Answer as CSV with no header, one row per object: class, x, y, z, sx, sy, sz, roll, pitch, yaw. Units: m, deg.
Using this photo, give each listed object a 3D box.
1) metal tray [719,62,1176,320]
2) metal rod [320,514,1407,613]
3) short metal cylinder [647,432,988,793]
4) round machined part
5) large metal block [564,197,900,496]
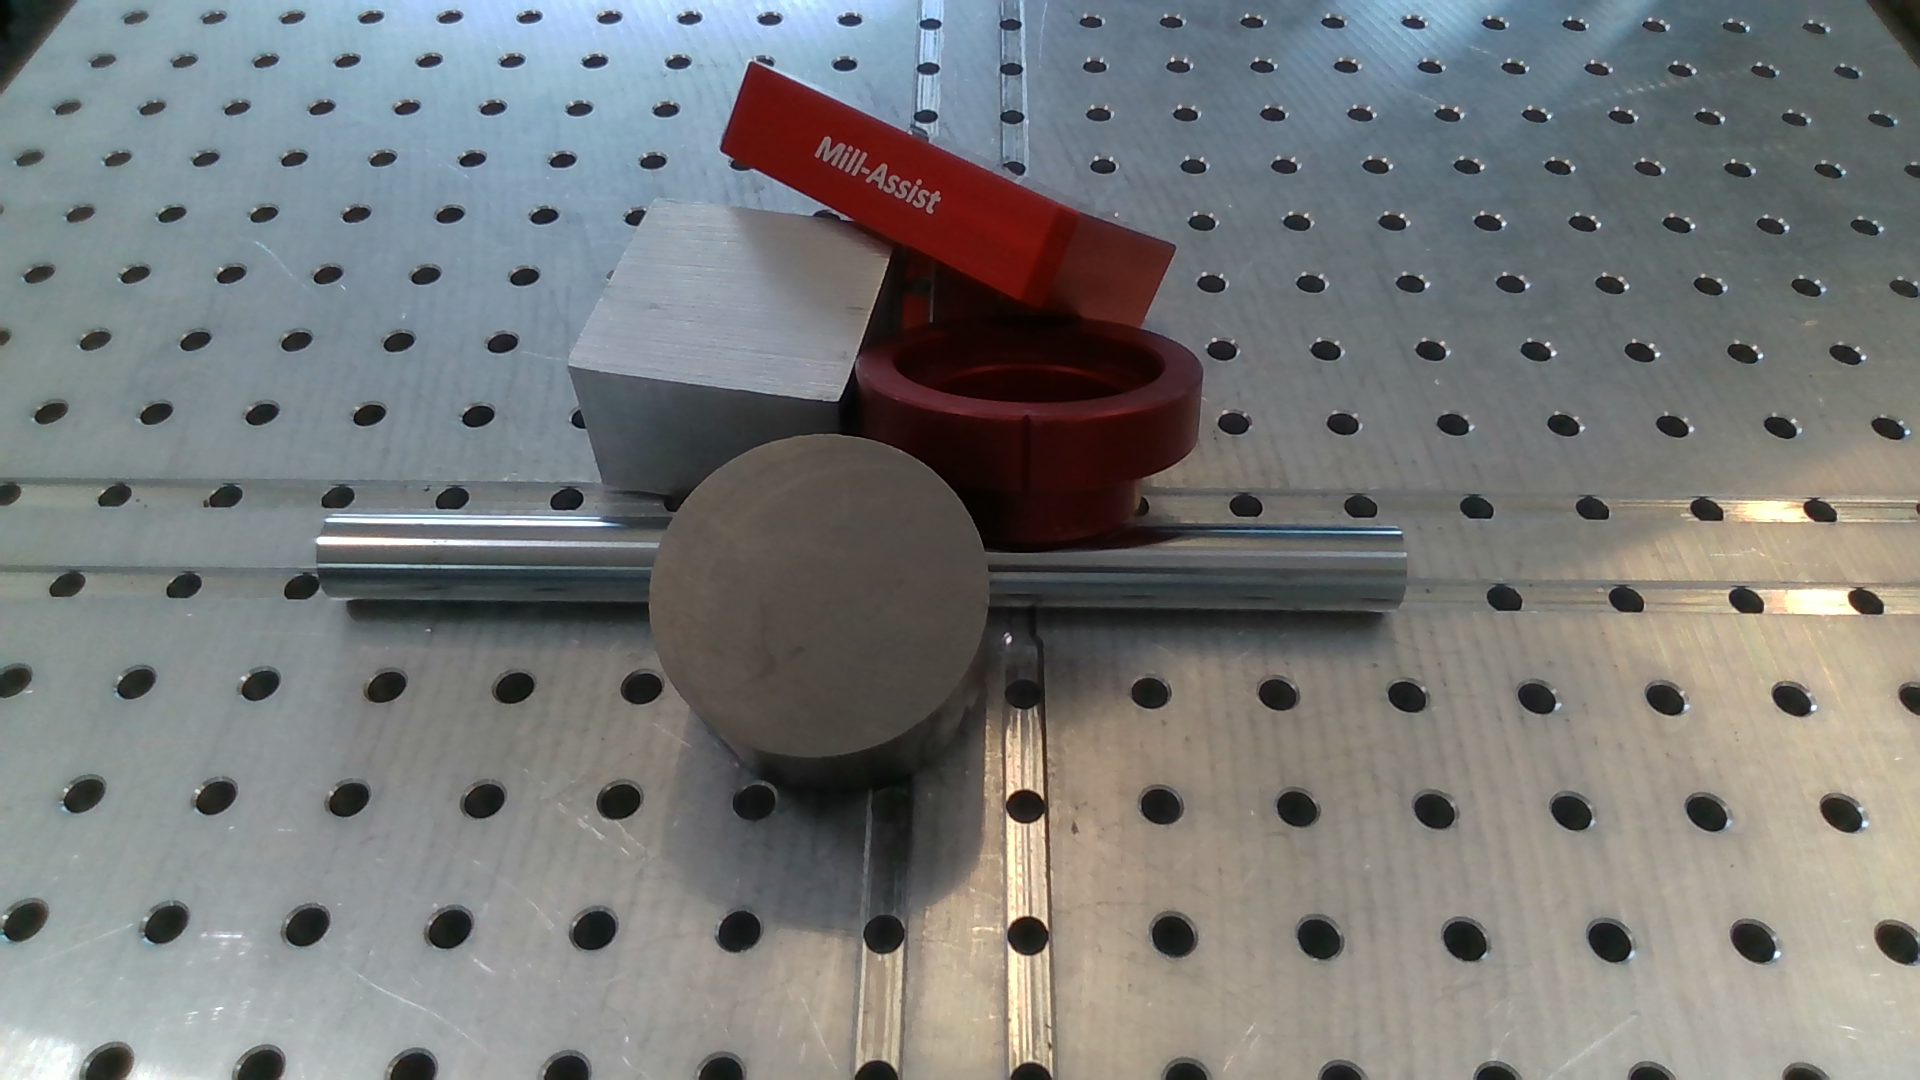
metal tray,-0.003,-0.113,0.456,0.130,0.030,0.090,31,18,23
metal rod,-0.027,0.007,0.392,0.300,0.025,0.025,1,50,1
short metal cylinder,-0.033,0.020,0.347,0.080,0.050,0.080,0,70,0
round machined part,0.019,-0.033,0.397,0.098,0.042,0.098,1,24,0
large metal block,-0.065,-0.058,0.429,0.080,0.050,0.080,8,51,7
